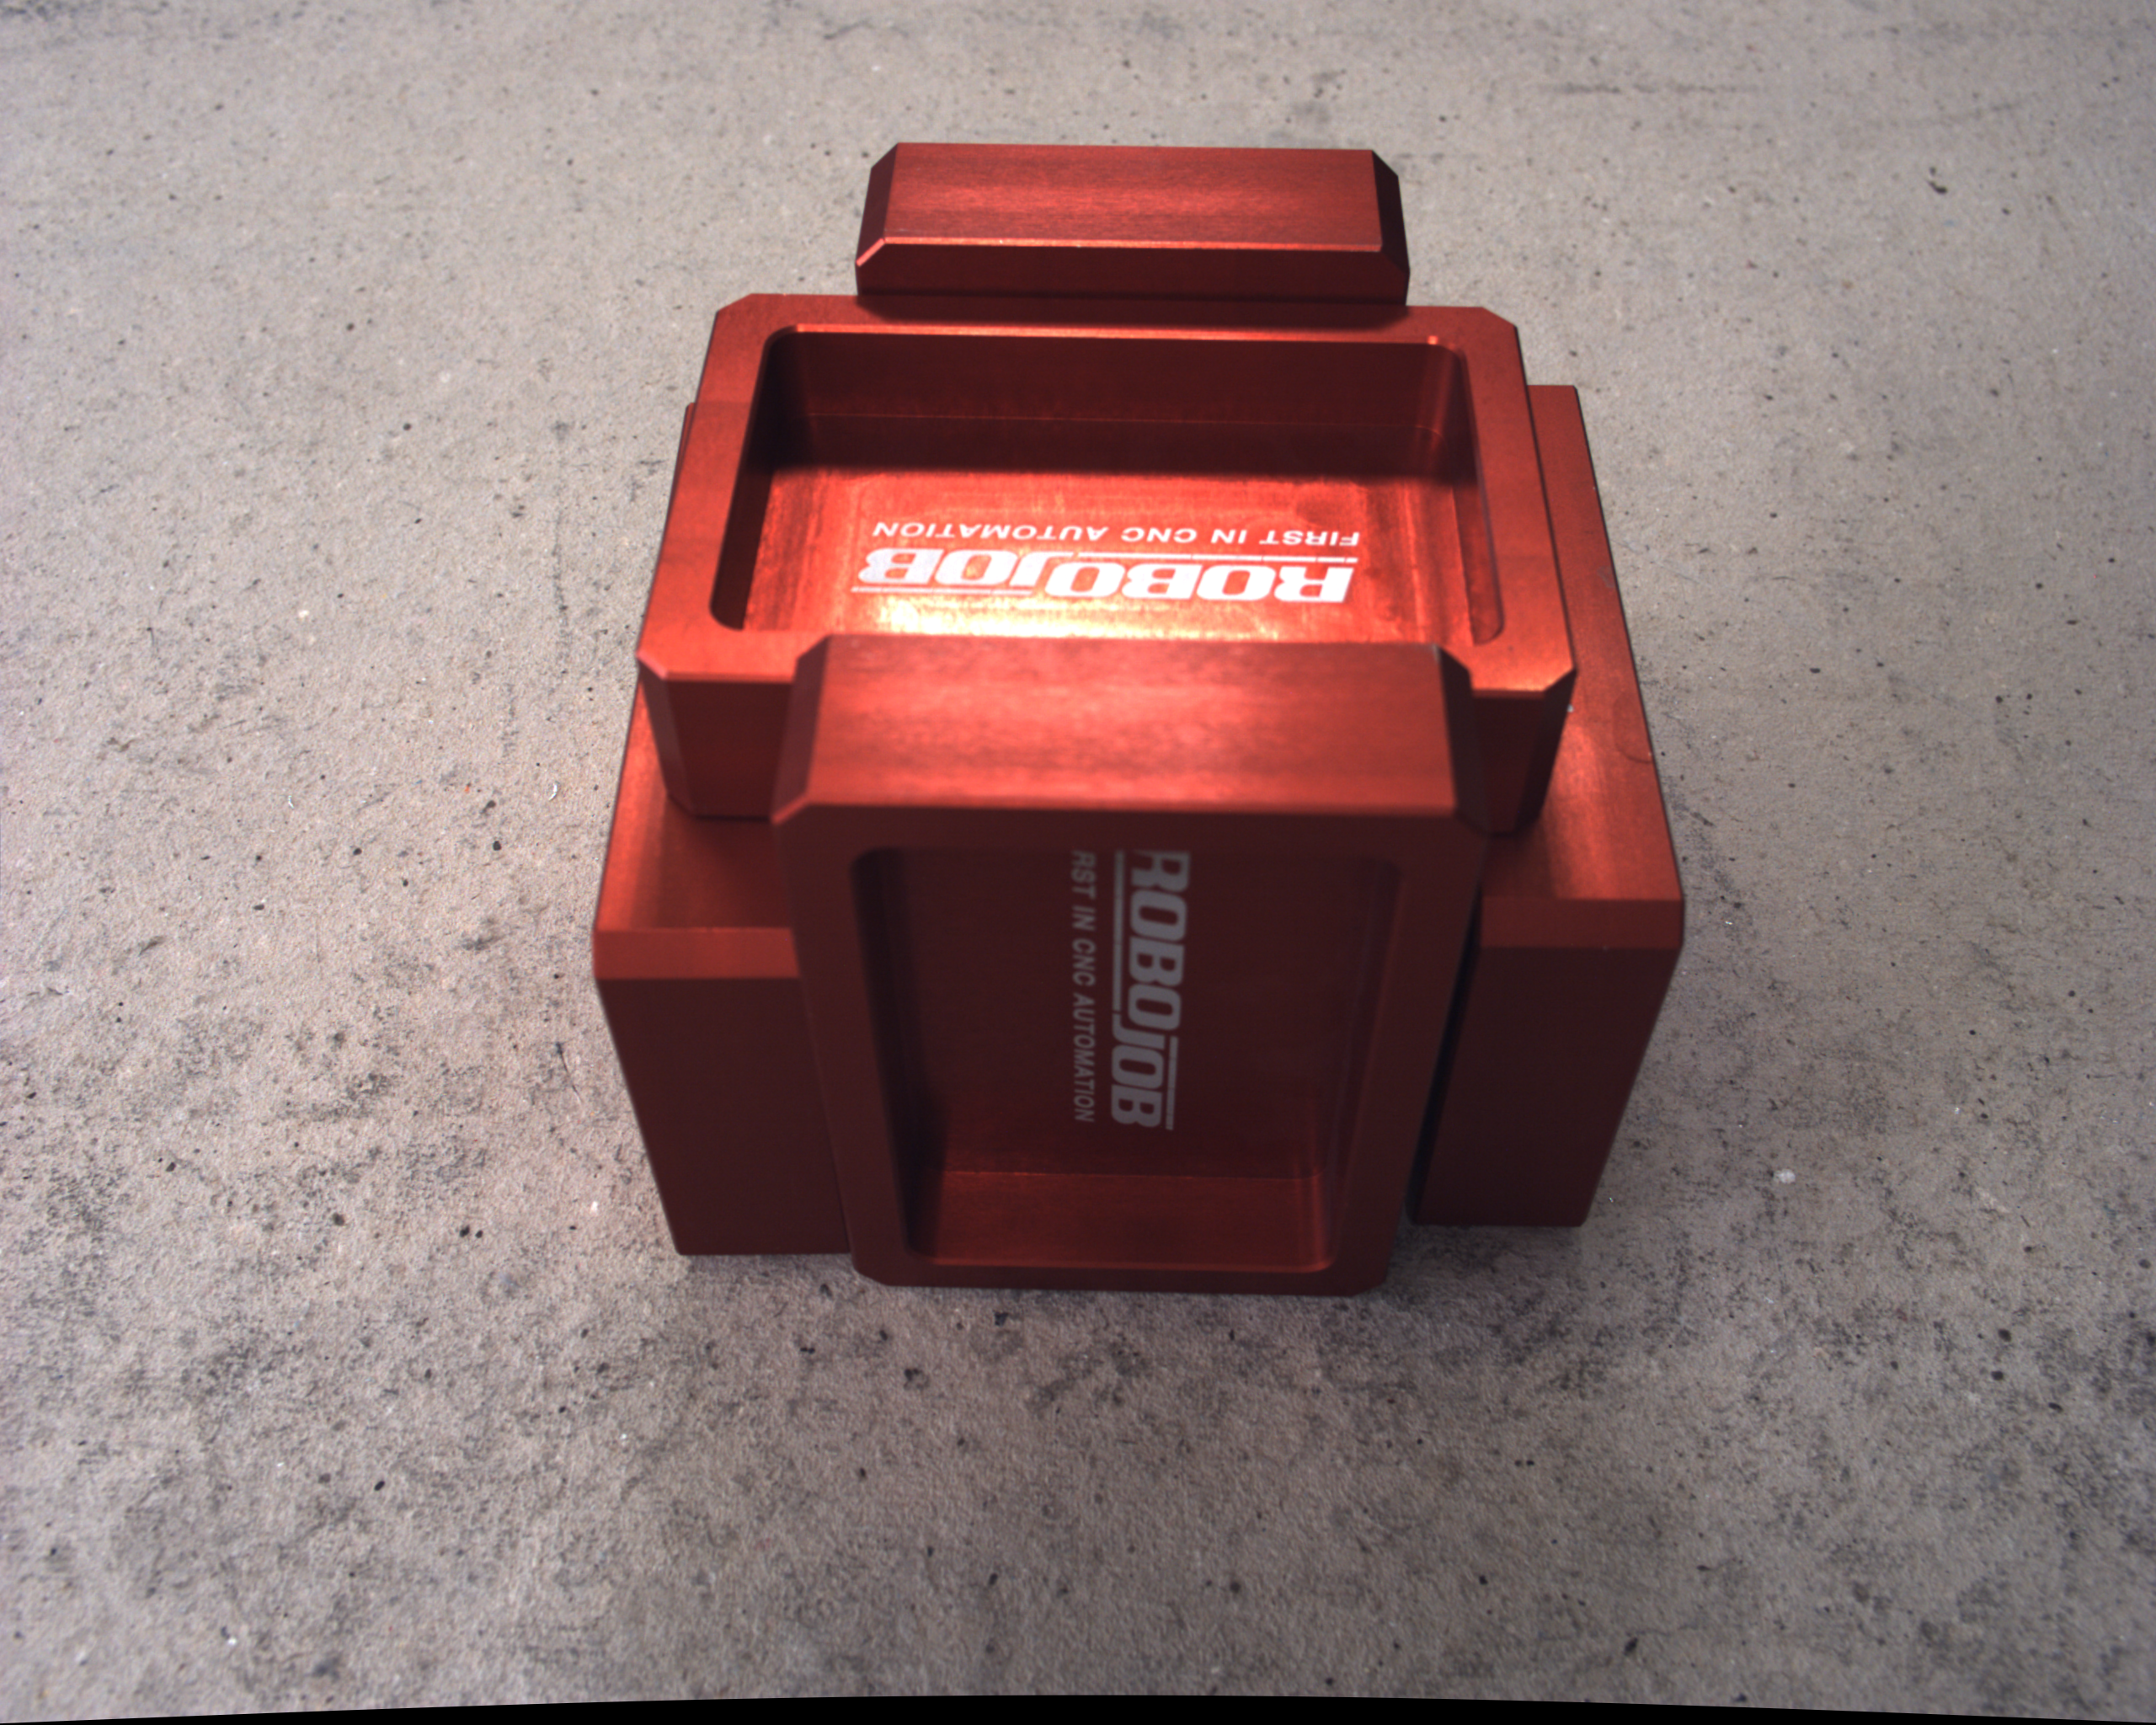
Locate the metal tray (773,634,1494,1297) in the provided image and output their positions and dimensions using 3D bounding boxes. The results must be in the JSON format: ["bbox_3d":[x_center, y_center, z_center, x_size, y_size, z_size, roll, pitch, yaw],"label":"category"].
[{"bbox_3d":[0.007,0.022,0.317,0.091,0.129,0.030,1,51,1],"label":"metal tray"}]

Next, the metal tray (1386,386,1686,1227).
[{"bbox_3d":[0.075,-0.012,0.372,0.030,0.089,0.130,1,49,2],"label":"metal tray"}]

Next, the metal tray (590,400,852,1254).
[{"bbox_3d":[-0.055,-0.008,0.368,0.030,0.089,0.130,0,50,-1],"label":"metal tray"}]

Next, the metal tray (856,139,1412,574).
[{"bbox_3d":[0.009,-0.070,0.394,0.091,0.129,0.030,1,50,1],"label":"metal tray"}]

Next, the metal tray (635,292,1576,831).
[{"bbox_3d":[0.005,-0.049,0.326,0.131,0.030,0.090,1,50,1],"label":"metal tray"}]
